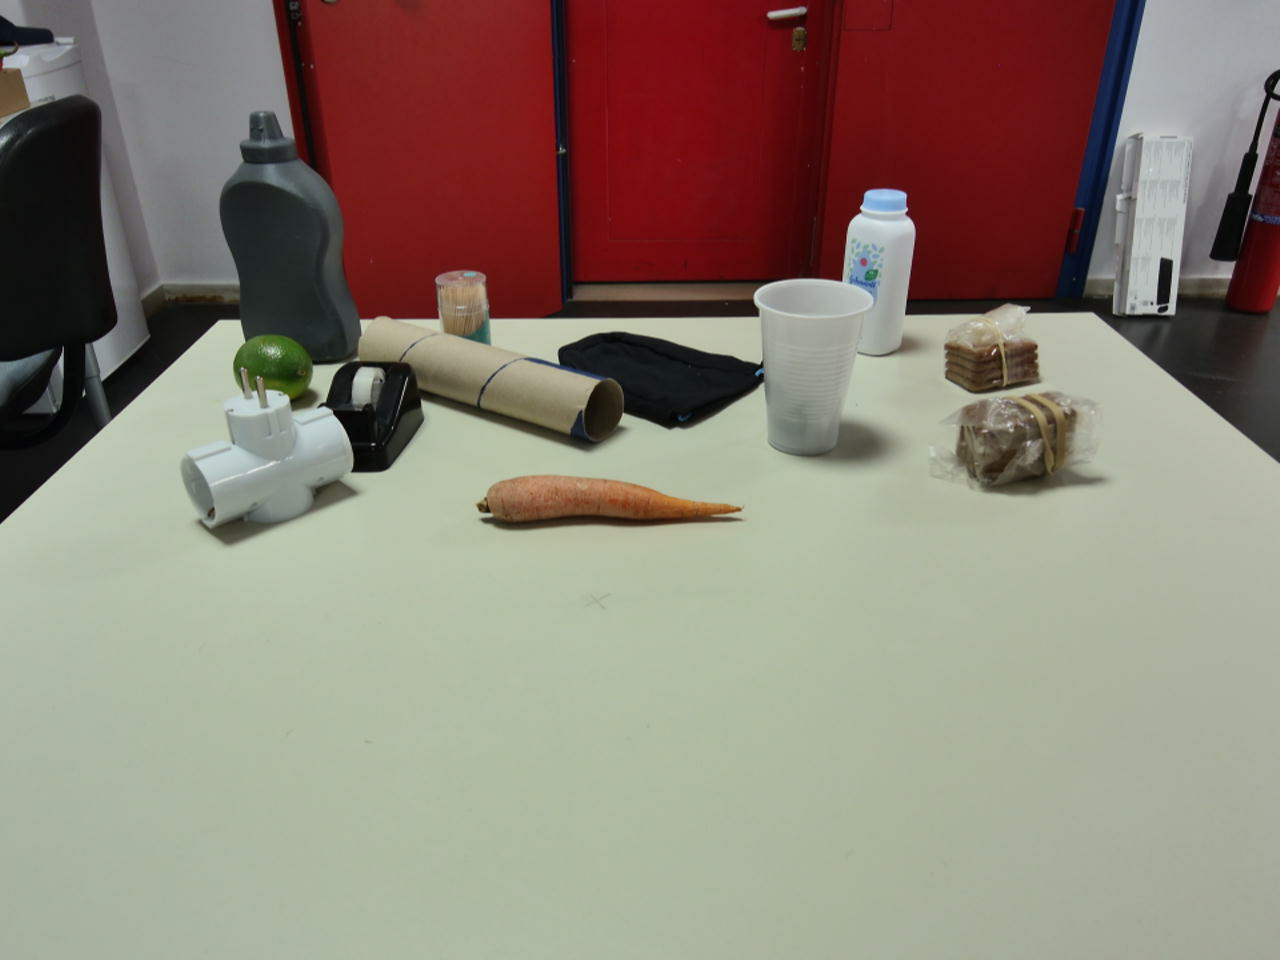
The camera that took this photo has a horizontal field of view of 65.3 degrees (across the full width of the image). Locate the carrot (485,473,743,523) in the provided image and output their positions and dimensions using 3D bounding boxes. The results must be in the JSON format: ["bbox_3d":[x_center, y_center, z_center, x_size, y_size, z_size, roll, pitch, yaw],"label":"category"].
[{"bbox_3d":[-0.017,0.011,0.628,0.163,0.029,0.031,0,27,0],"label":"carrot"}]
